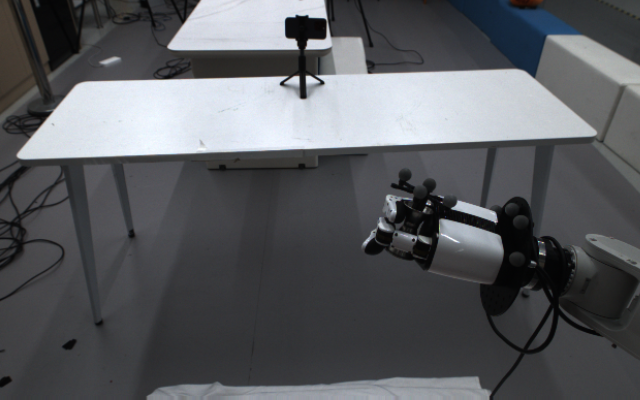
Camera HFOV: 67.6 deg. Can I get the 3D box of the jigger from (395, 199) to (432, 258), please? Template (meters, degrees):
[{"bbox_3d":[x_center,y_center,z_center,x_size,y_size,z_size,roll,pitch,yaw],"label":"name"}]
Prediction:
[{"bbox_3d":[0.117,0.039,0.635,0.043,0.071,0.043,18,17,-6],"label":"jigger"}]
